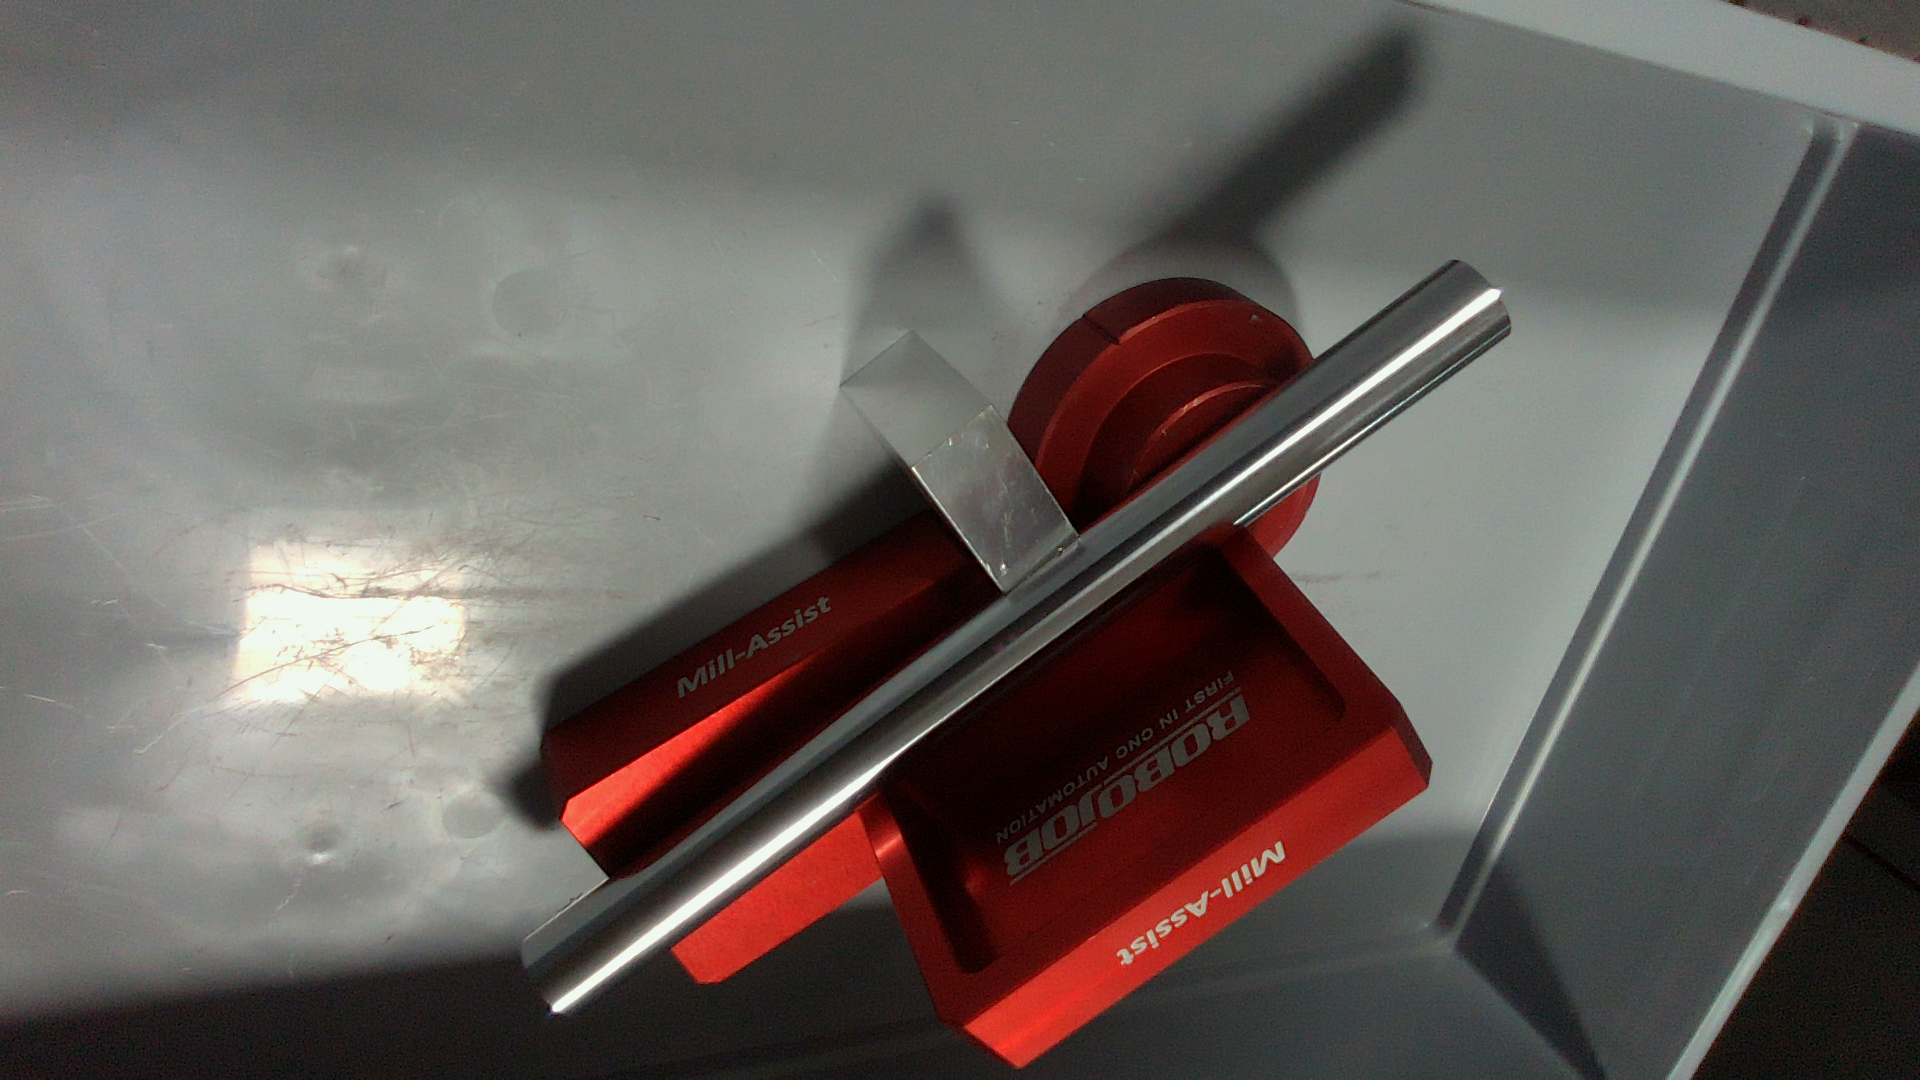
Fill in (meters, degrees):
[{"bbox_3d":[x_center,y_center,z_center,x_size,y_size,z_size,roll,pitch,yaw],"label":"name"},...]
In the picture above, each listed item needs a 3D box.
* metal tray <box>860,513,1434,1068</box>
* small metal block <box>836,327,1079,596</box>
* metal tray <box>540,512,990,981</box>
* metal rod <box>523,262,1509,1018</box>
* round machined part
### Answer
[{"bbox_3d":[0.041,0.060,0.357,0.130,0.090,0.030,-36,132,4],"label":"metal tray"},{"bbox_3d":[-0.001,-0.021,0.359,0.025,0.050,0.050,-38,129,-2],"label":"small metal block"},{"bbox_3d":[-0.041,0.061,0.400,0.130,0.030,0.090,-31,128,-9],"label":"metal tray"},{"bbox_3d":[0.014,0.027,0.361,0.300,0.025,0.025,-36,129,1],"label":"metal rod"},{"bbox_3d":[0.065,-0.022,0.398,0.098,0.042,0.098,-14,124,-21],"label":"round machined part"}]
